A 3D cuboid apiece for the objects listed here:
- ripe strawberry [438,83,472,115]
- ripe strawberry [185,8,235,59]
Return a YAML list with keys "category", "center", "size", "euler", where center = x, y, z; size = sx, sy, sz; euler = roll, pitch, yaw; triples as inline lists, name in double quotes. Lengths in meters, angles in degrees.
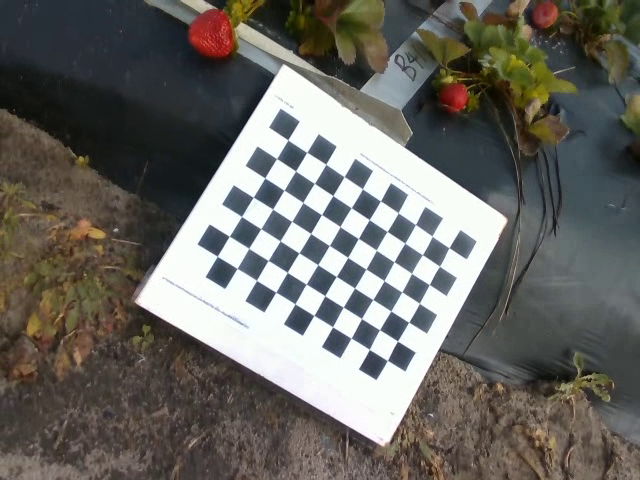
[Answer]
- category: "ripe strawberry"
  center: [0.146, -0.147, 0.660]
  size: [0.030, 0.038, 0.048]
  euler: [-40, 9, 24]
- category: "ripe strawberry"
  center: [-0.095, -0.181, 0.554]
  size: [0.052, 0.048, 0.030]
  euler: [-22, 4, -39]
